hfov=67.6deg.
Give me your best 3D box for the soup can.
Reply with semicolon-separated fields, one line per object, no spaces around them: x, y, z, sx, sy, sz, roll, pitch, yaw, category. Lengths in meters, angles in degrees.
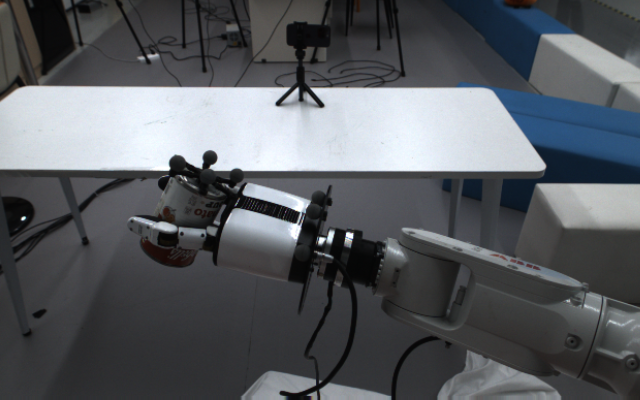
-0.158;0.020;0.566;0.067;0.101;0.067;28;18;-10;soup can
